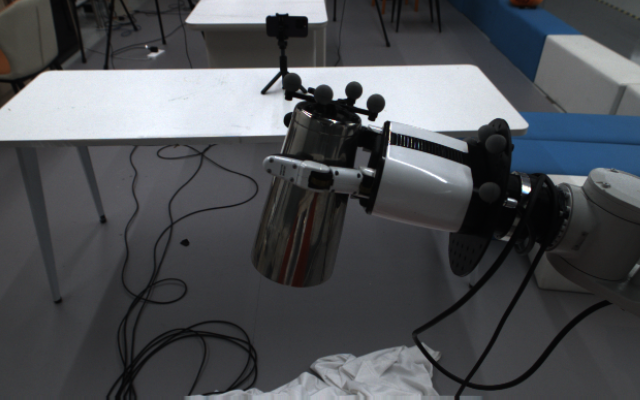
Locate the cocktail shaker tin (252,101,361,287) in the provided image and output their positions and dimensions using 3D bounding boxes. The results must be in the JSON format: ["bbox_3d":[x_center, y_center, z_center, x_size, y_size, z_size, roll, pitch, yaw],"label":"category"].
[{"bbox_3d":[-0.007,-0.010,0.494,0.093,0.170,0.093,12,25,-6],"label":"cocktail shaker tin"}]
